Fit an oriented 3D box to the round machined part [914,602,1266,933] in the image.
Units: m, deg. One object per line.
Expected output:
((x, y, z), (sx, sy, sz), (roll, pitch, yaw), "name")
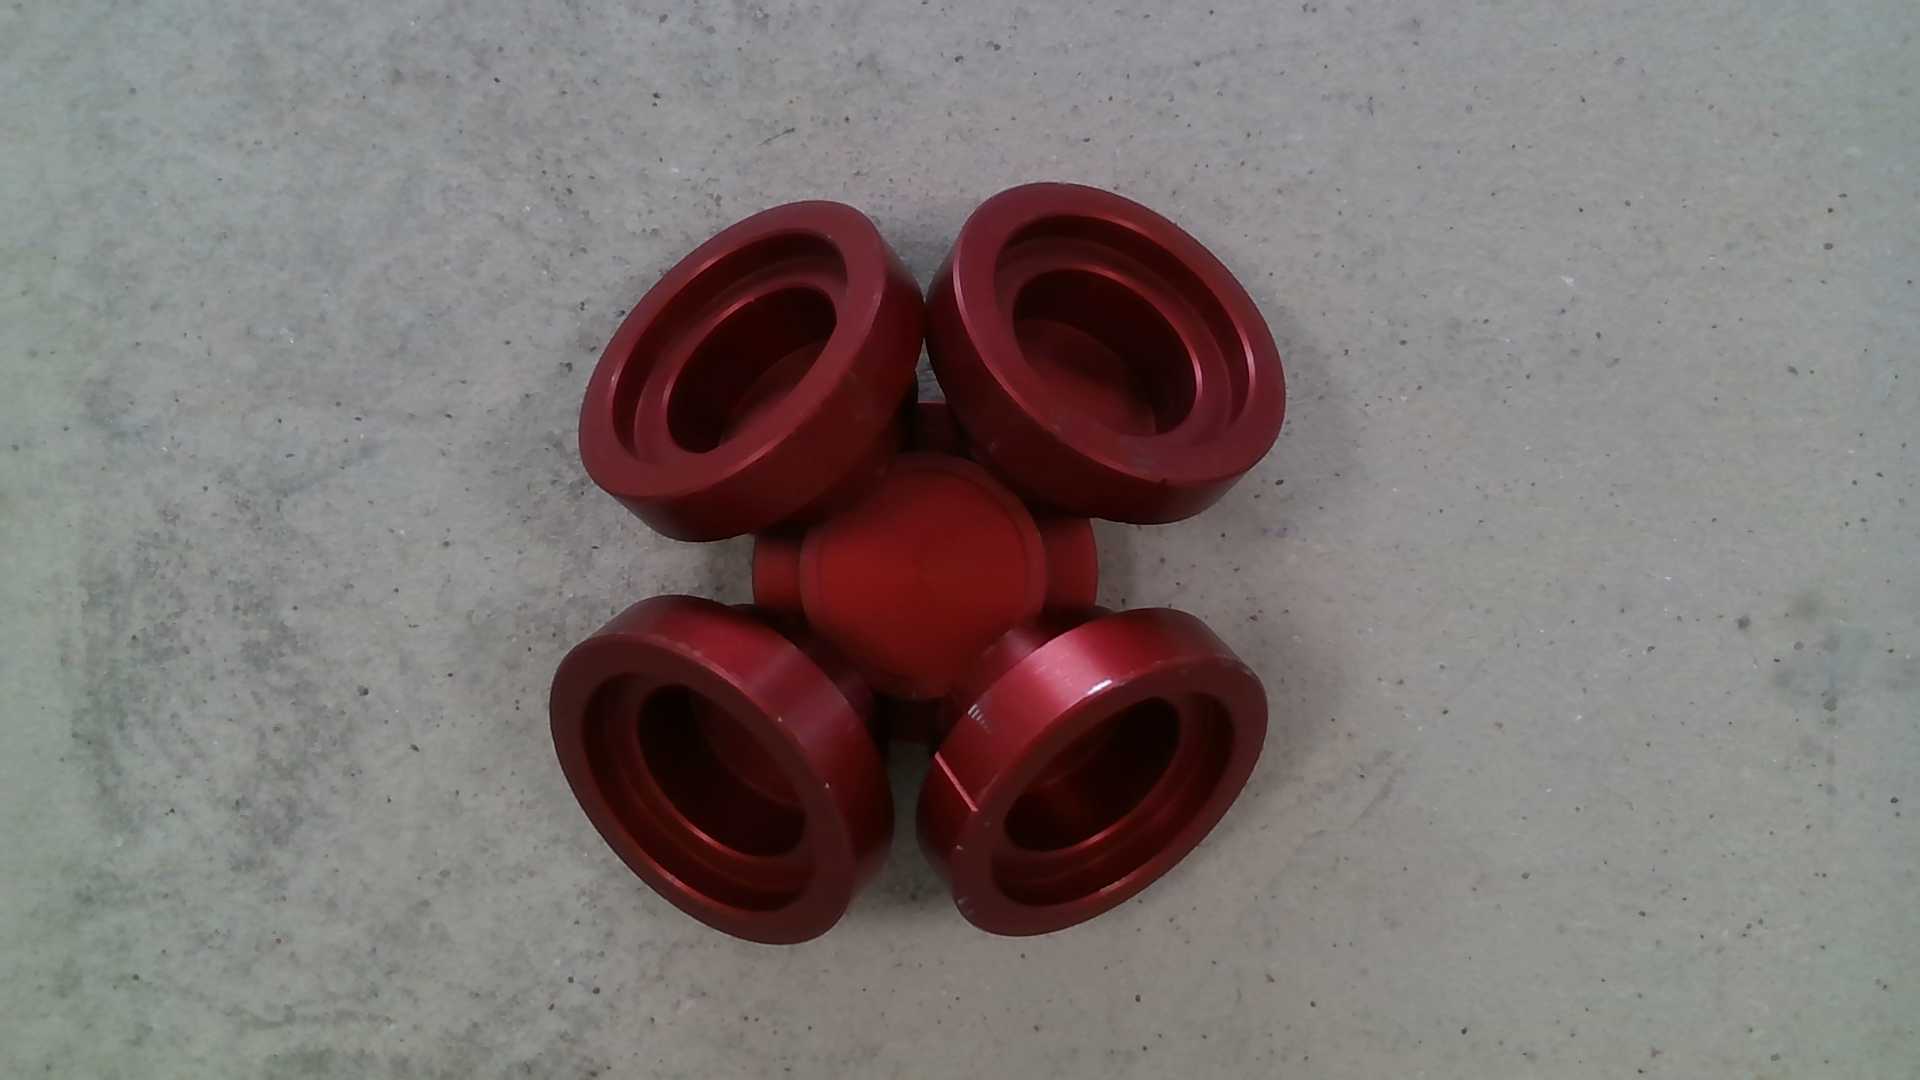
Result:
((0.030, 0.056, 0.370), (0.098, 0.098, 0.042), (-40, 49, 0), "round machined part")

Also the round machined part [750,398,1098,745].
((-0.010, 0.009, 0.387), (0.098, 0.042, 0.098), (0, 91, -2), "round machined part")

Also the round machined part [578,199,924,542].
((-0.051, -0.041, 0.369), (0.098, 0.098, 0.042), (-44, 134, 0), "round machined part")

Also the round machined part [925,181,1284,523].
((0.034, -0.046, 0.371), (0.098, 0.042, 0.098), (14, 53, -20), "round machined part")

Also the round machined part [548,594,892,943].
((-0.059, 0.057, 0.371), (0.098, 0.042, 0.098), (17, 127, 25), "round machined part")
